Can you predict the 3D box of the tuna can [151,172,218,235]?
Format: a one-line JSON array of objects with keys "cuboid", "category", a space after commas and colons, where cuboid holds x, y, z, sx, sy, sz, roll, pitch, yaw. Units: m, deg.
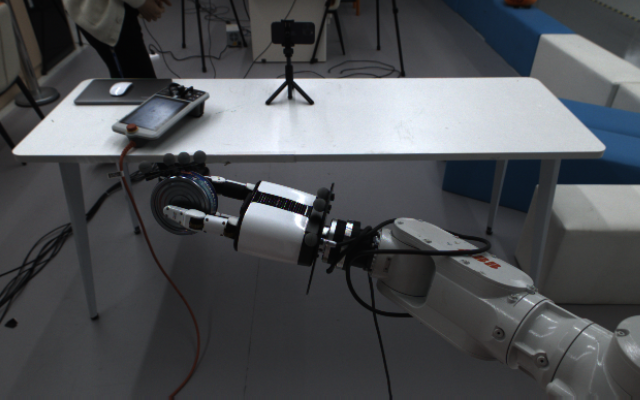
[{"cuboid": [-0.185, 0.005, 0.663, 0.085, 0.085, 0.034, 6, 18, 5], "category": "tuna can"}]
